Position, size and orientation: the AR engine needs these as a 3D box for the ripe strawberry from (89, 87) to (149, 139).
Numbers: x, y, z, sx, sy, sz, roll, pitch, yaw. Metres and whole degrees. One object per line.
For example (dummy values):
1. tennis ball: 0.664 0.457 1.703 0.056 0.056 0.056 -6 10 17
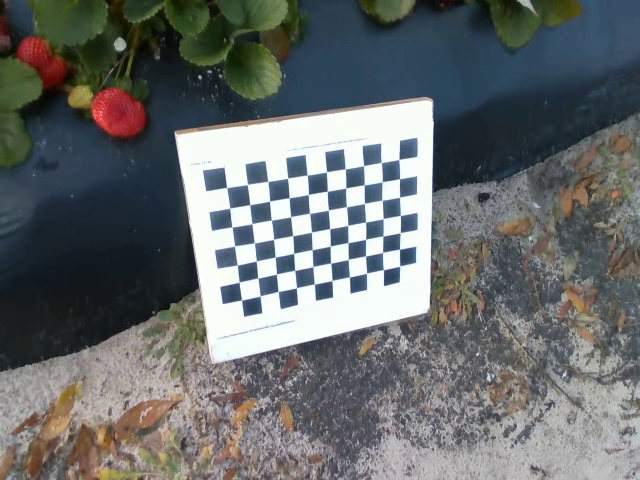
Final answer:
1. ripe strawberry: -0.086 -0.051 0.267 0.022 0.025 0.030 -15 36 13
